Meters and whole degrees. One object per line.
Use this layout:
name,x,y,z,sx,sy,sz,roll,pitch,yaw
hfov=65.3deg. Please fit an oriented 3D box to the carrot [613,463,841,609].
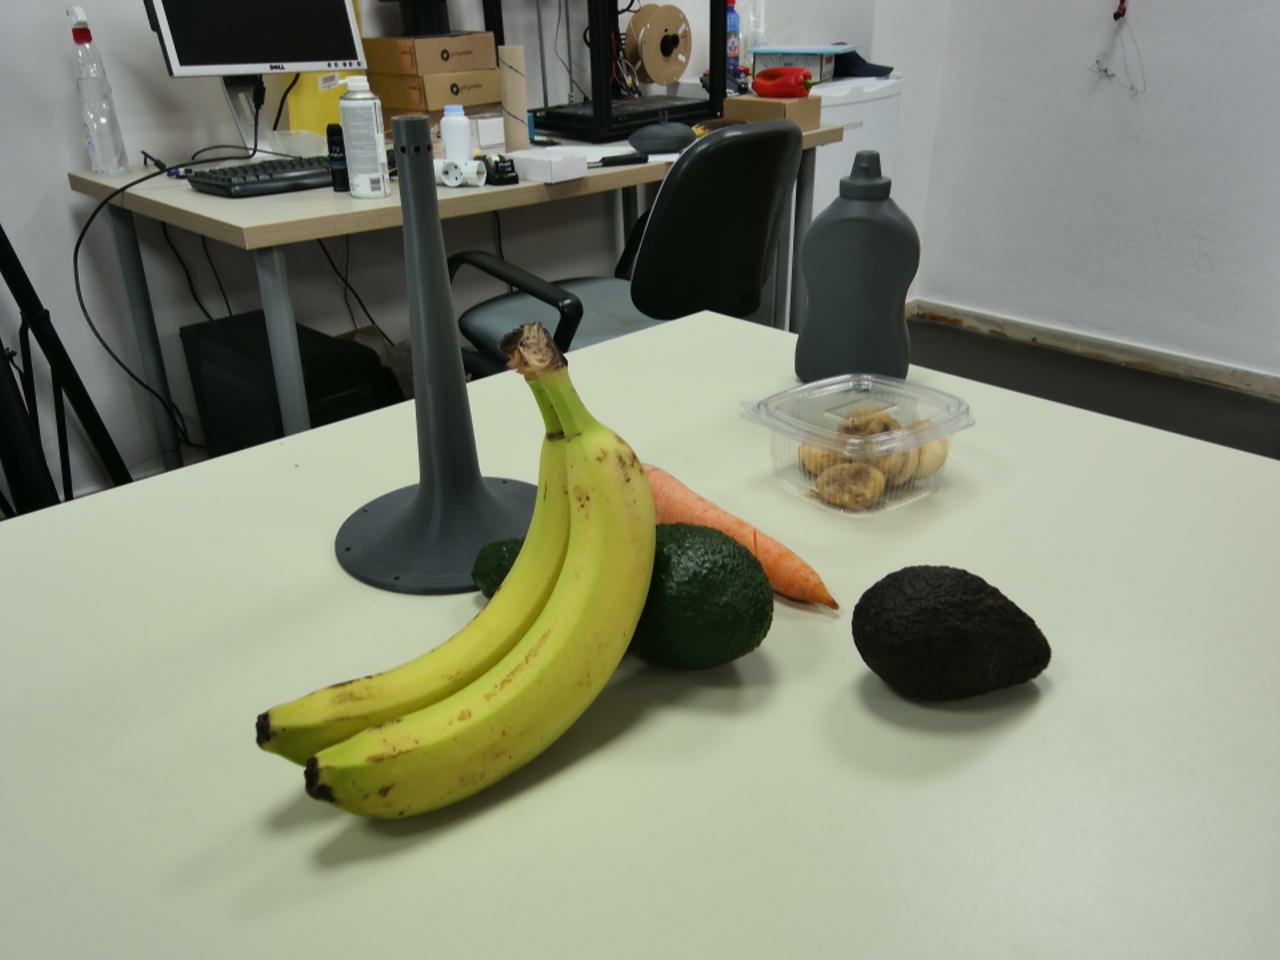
carrot,0.054,0.032,0.651,0.039,0.041,0.196,-20,32,-38
